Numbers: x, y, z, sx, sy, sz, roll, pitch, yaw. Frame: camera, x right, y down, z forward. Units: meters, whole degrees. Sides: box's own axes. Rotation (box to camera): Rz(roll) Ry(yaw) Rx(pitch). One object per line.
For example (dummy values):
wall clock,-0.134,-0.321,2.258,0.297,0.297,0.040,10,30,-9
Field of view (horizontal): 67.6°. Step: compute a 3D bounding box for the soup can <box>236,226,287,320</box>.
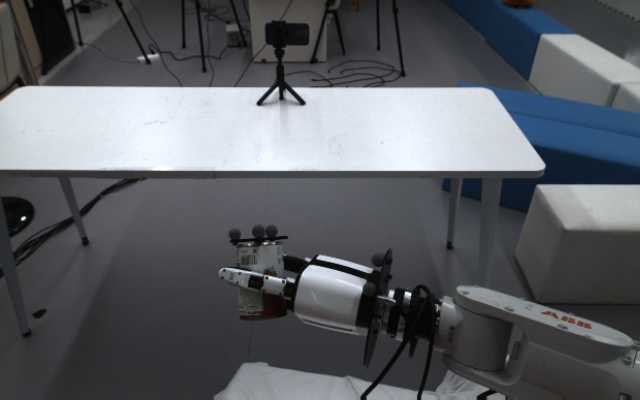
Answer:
soup can,-0.080,0.112,0.672,0.067,0.101,0.067,-5,-5,0
